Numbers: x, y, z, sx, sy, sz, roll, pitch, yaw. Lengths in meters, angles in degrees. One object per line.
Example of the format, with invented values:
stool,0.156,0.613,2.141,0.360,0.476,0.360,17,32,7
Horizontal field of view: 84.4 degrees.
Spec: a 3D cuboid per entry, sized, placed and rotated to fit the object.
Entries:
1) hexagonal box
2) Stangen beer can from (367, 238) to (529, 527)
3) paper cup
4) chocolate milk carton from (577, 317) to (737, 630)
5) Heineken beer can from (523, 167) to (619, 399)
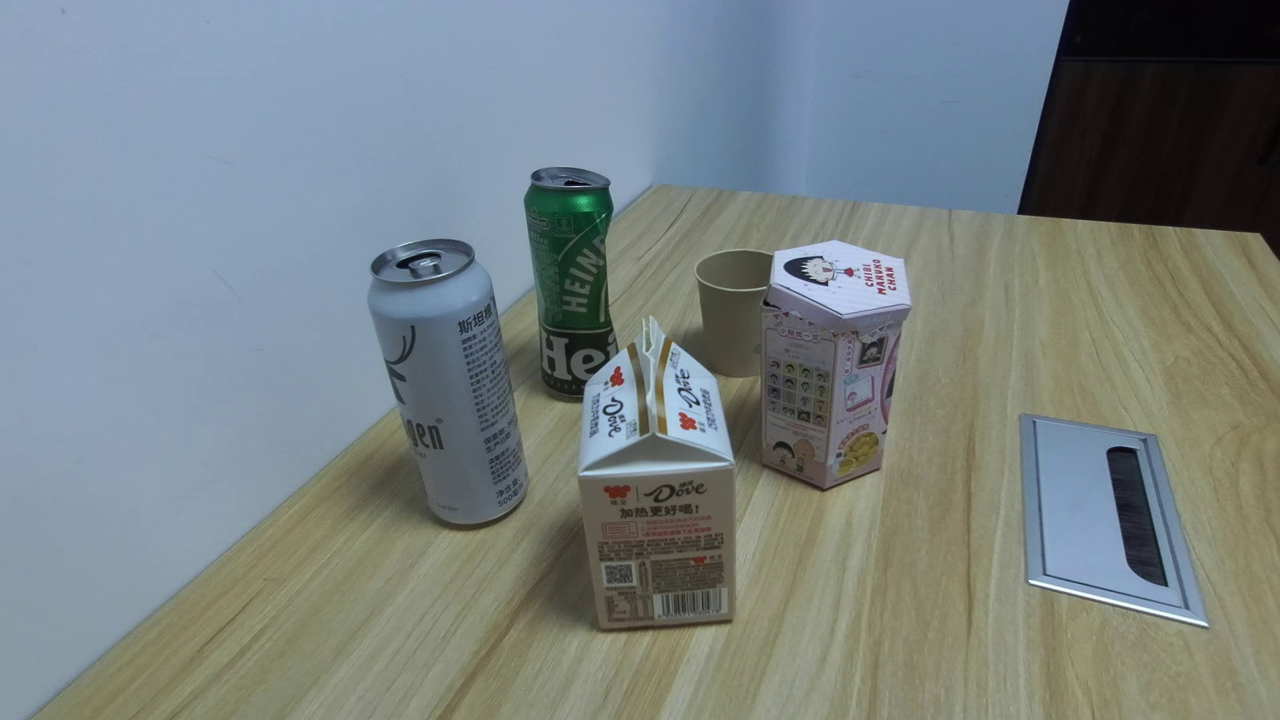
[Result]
hexagonal box,0.117,0.003,0.446,0.085,0.135,0.092,3,32,10
Stangen beer can,-0.109,0.018,0.419,0.067,0.171,0.067,-3,32,2
paper cup,0.083,-0.038,0.594,0.075,0.082,0.075,-3,31,2
chocolate milk carton,0.009,0.057,0.359,0.074,0.148,0.075,-4,32,1
Heineken beer can,-0.046,-0.053,0.527,0.069,0.168,0.068,12,31,20
